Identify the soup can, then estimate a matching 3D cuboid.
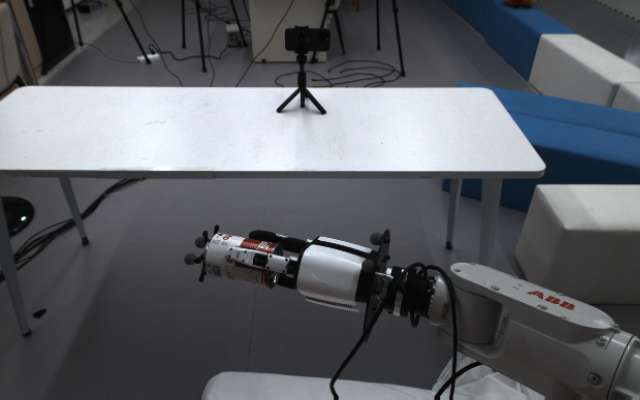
[{"bbox_3d":[-0.111,0.090,0.717,0.101,0.067,0.067,8,35,11],"label":"soup can"}]
